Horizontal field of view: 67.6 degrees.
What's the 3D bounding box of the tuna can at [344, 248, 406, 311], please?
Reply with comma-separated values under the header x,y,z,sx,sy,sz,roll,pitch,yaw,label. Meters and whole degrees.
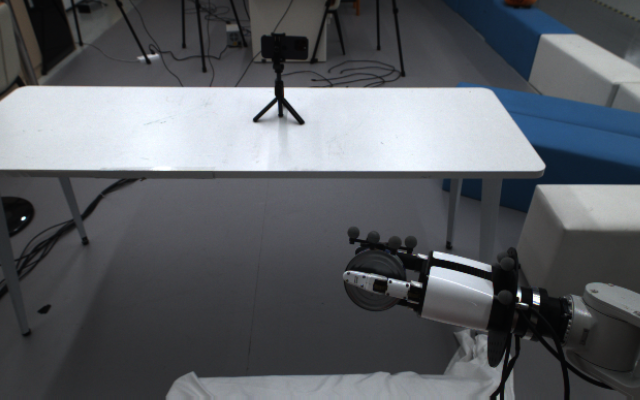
x,y,z,sx,sy,sz,roll,pitch,yaw,label
0.079,0.106,0.671,0.085,0.085,0.034,11,2,13,tuna can
